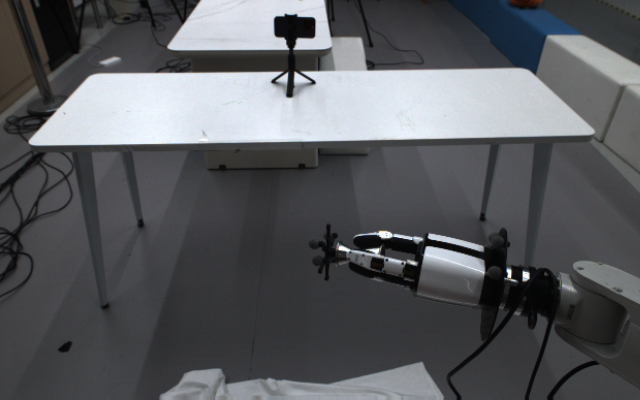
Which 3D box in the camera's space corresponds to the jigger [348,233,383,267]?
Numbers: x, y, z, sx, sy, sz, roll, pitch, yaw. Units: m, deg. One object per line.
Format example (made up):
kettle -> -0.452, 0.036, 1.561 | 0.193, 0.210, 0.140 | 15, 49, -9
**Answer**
jigger -> 0.068, 0.079, 0.730 | 0.071, 0.043, 0.043 | 3, 34, 17
